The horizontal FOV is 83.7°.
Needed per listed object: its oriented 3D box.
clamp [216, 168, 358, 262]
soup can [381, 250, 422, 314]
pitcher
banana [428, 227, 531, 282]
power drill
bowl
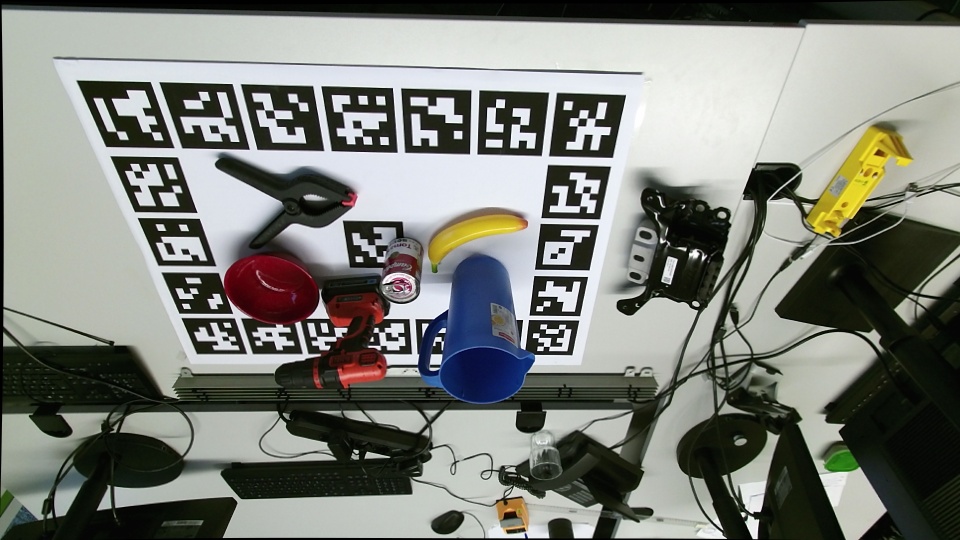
[{"bbox_3d":[-0.301,-0.087,0.864,0.203,0.036,0.165,-2,122,-1],"label":"clamp"},{"bbox_3d":[-0.136,0.024,0.923,0.068,0.101,0.068,-2,134,-2],"label":"soup can"},{"bbox_3d":[-0.014,0.116,0.908,0.189,0.241,0.133,-20,127,11],"label":"pitcher"},{"bbox_3d":[-0.011,-0.035,0.926,0.198,0.038,0.074,-20,133,13],"label":"banana"},{"bbox_3d":[-0.255,0.138,0.924,0.185,0.186,0.057,-3,126,1],"label":"power drill"},{"bbox_3d":[-0.366,0.042,0.952,0.162,0.055,0.161,-2,125,-2],"label":"bowl"}]
